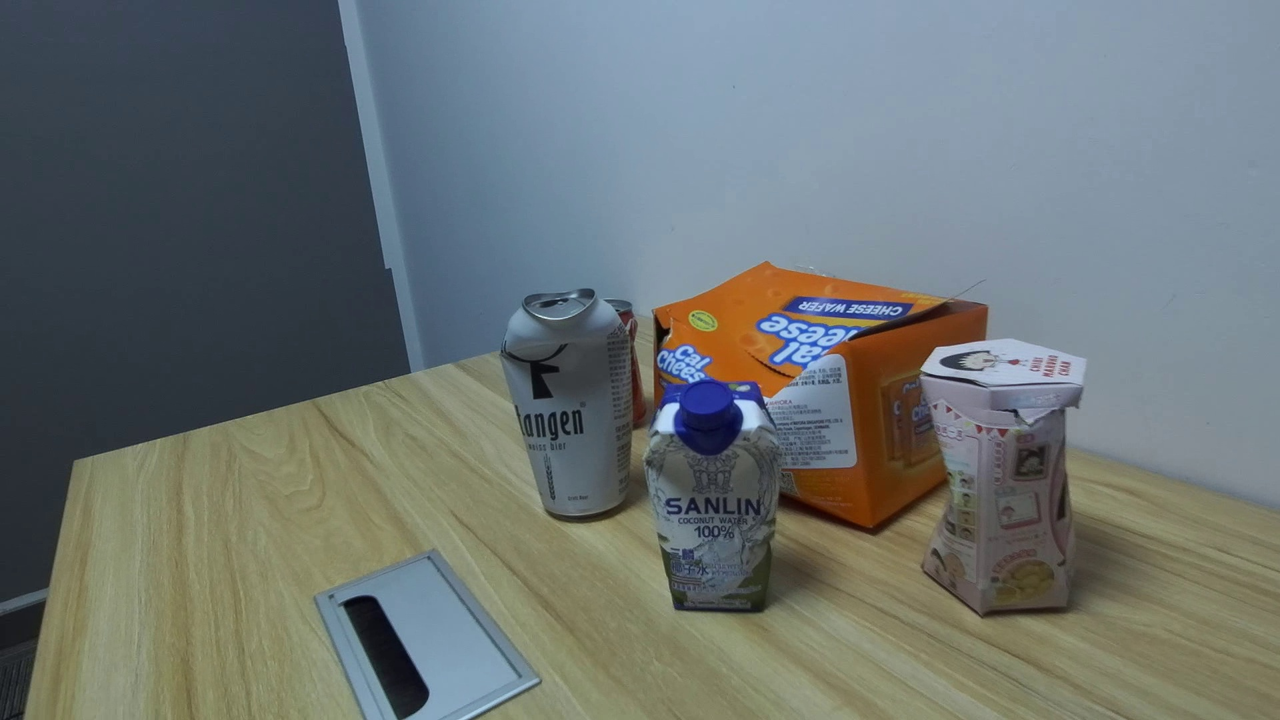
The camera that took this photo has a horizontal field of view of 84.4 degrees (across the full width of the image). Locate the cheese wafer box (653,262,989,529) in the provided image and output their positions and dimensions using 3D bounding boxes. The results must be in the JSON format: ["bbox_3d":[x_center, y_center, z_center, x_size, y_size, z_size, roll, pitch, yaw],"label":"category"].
[{"bbox_3d":[0.123,0.013,0.554,0.192,0.218,0.145,-19,114,-37],"label":"cheese wafer box"}]

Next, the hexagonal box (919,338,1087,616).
[{"bbox_3d":[0.203,0.065,0.403,0.091,0.090,0.134,-10,106,-14],"label":"hexagonal box"}]

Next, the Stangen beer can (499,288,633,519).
[{"bbox_3d":[-0.049,0.033,0.511,0.077,0.065,0.162,-22,115,-38],"label":"Stangen beer can"}]

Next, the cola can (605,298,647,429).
[{"bbox_3d":[-0.023,-0.026,0.693,0.066,0.117,0.066,5,94,-7],"label":"cola can"}]
